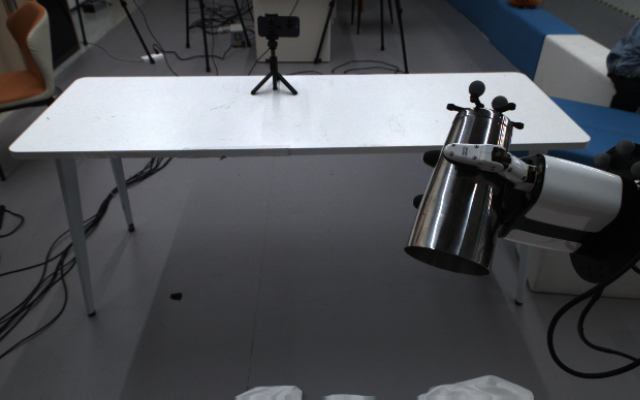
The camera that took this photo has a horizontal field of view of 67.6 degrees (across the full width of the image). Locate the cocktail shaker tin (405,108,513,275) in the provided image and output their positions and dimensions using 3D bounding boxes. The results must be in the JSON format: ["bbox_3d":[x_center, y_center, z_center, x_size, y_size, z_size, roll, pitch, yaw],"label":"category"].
[{"bbox_3d":[0.163,-0.012,0.536,0.093,0.093,0.170,15,75,18],"label":"cocktail shaker tin"}]
